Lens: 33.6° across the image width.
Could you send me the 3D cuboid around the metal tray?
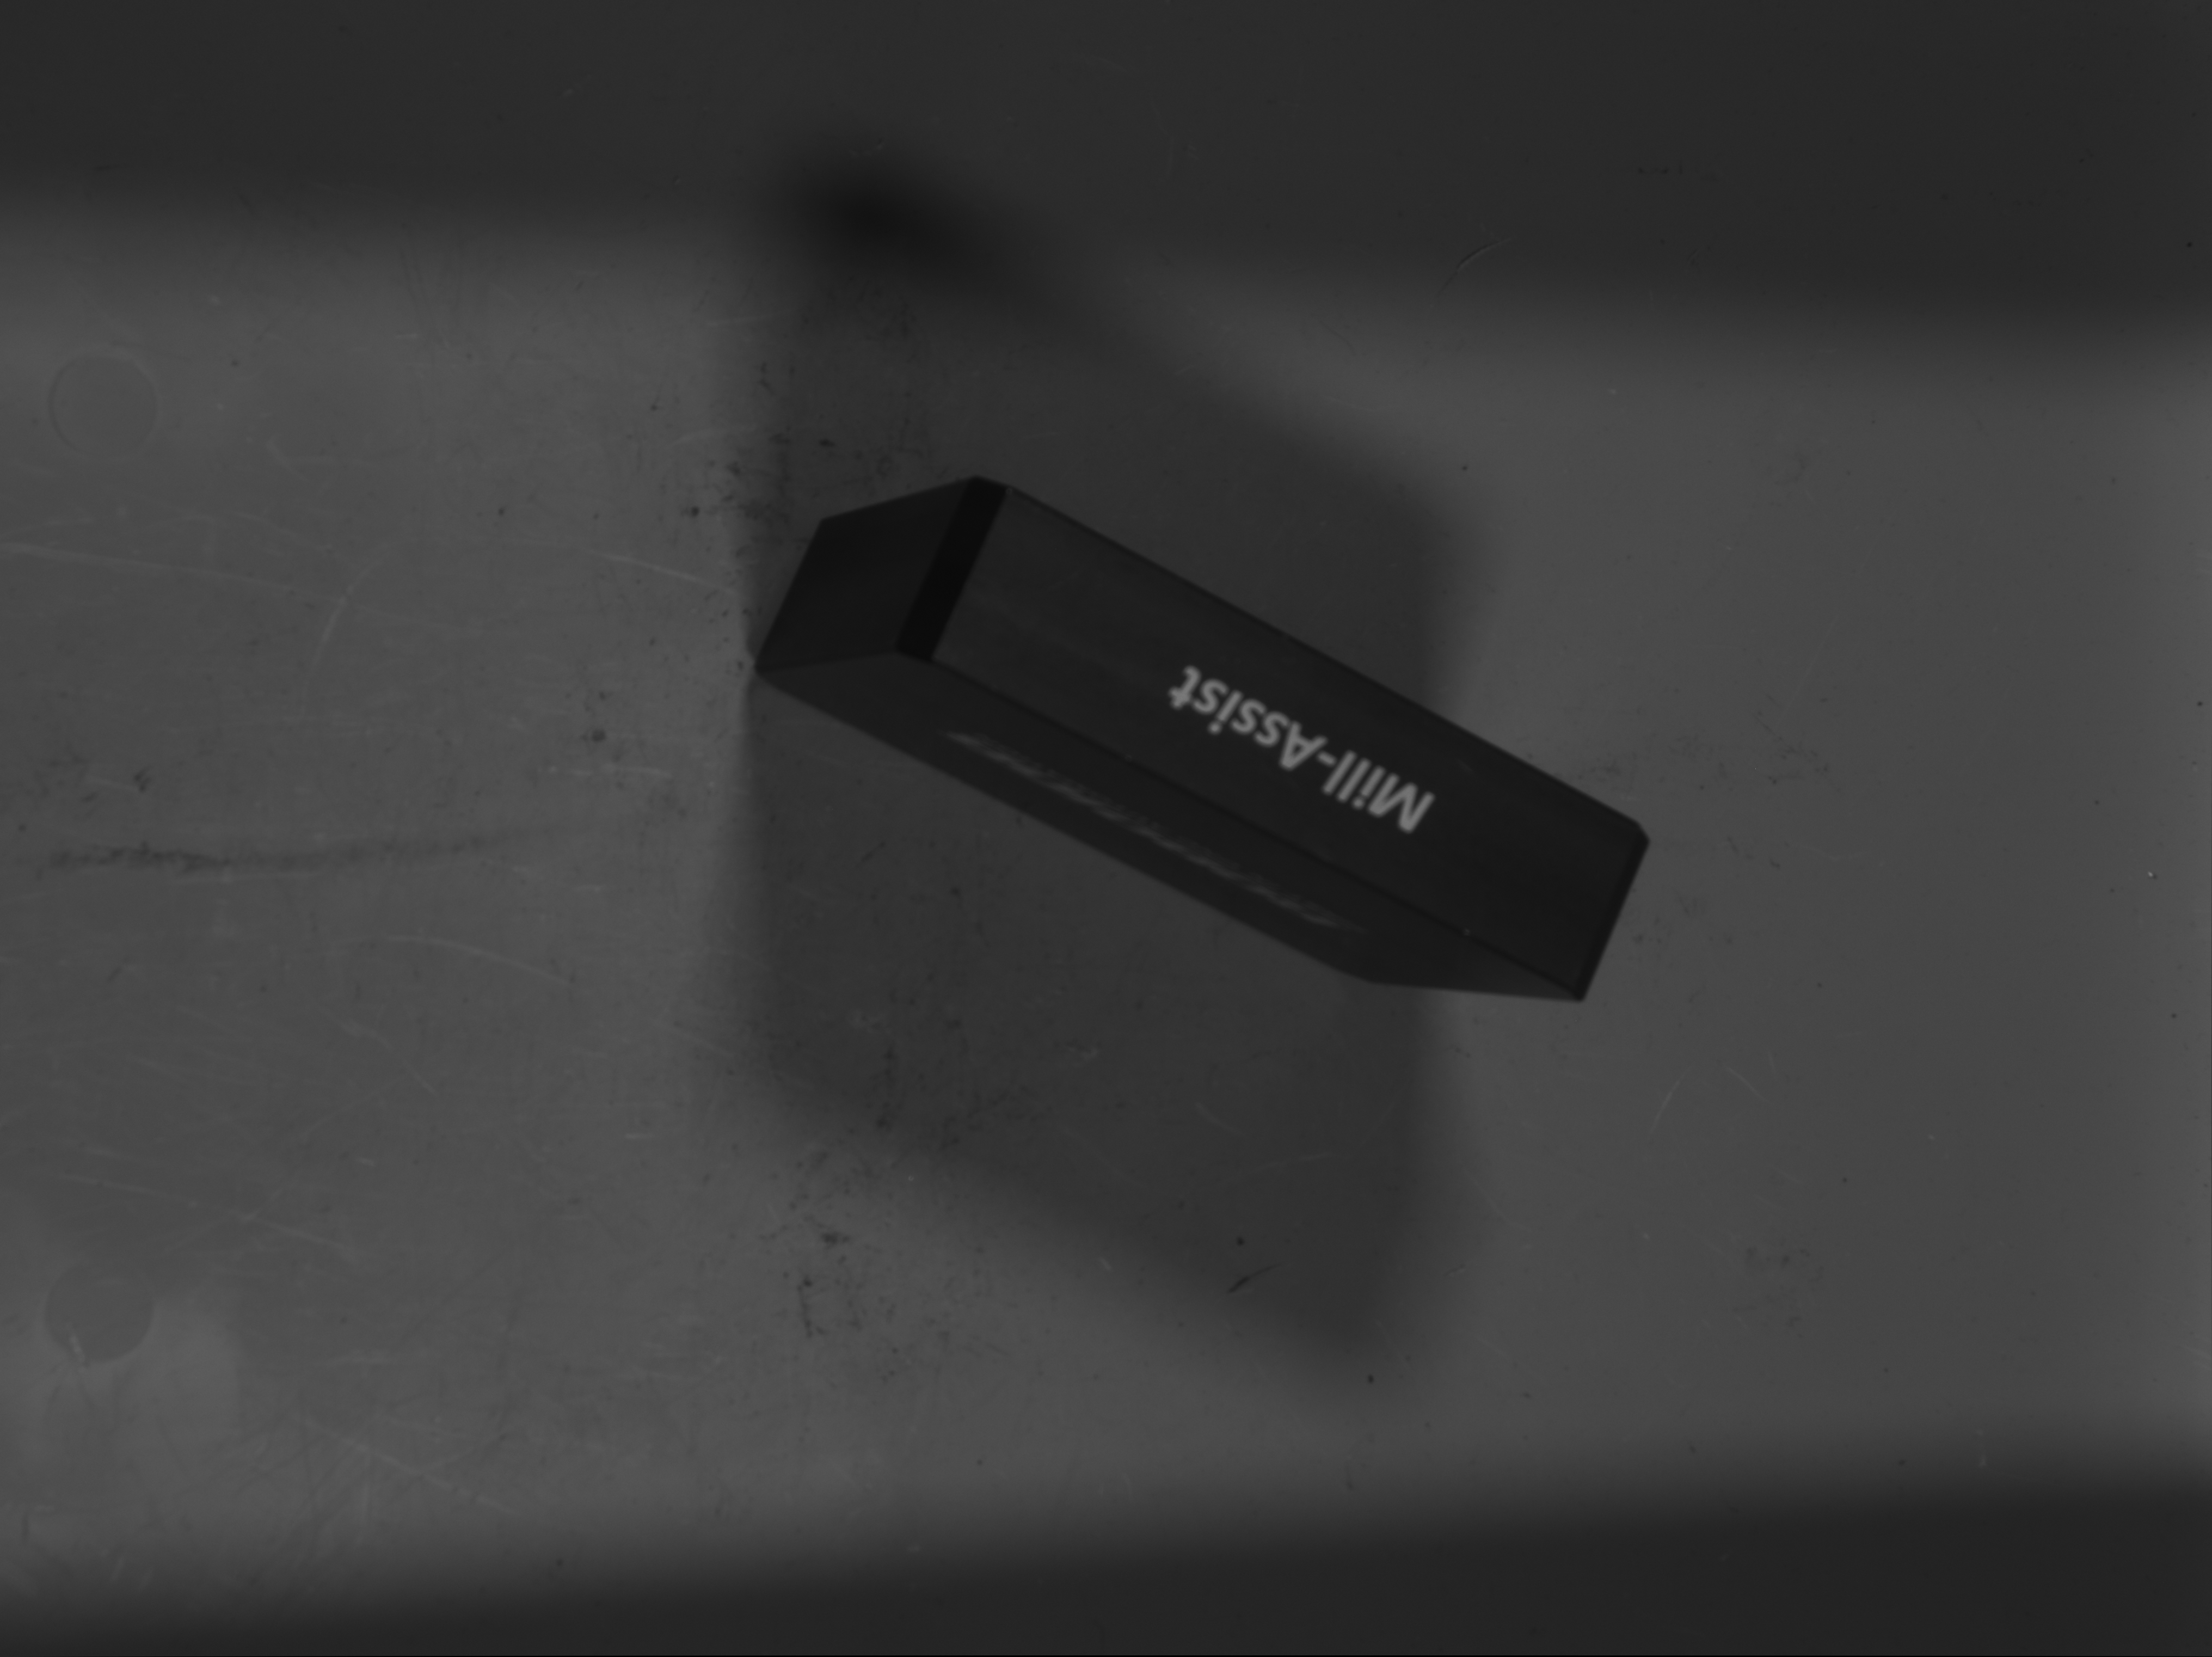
[{"bbox_3d":[0.021,-0.012,0.613,0.130,0.090,0.030,27,81,-18],"label":"metal tray"}]
